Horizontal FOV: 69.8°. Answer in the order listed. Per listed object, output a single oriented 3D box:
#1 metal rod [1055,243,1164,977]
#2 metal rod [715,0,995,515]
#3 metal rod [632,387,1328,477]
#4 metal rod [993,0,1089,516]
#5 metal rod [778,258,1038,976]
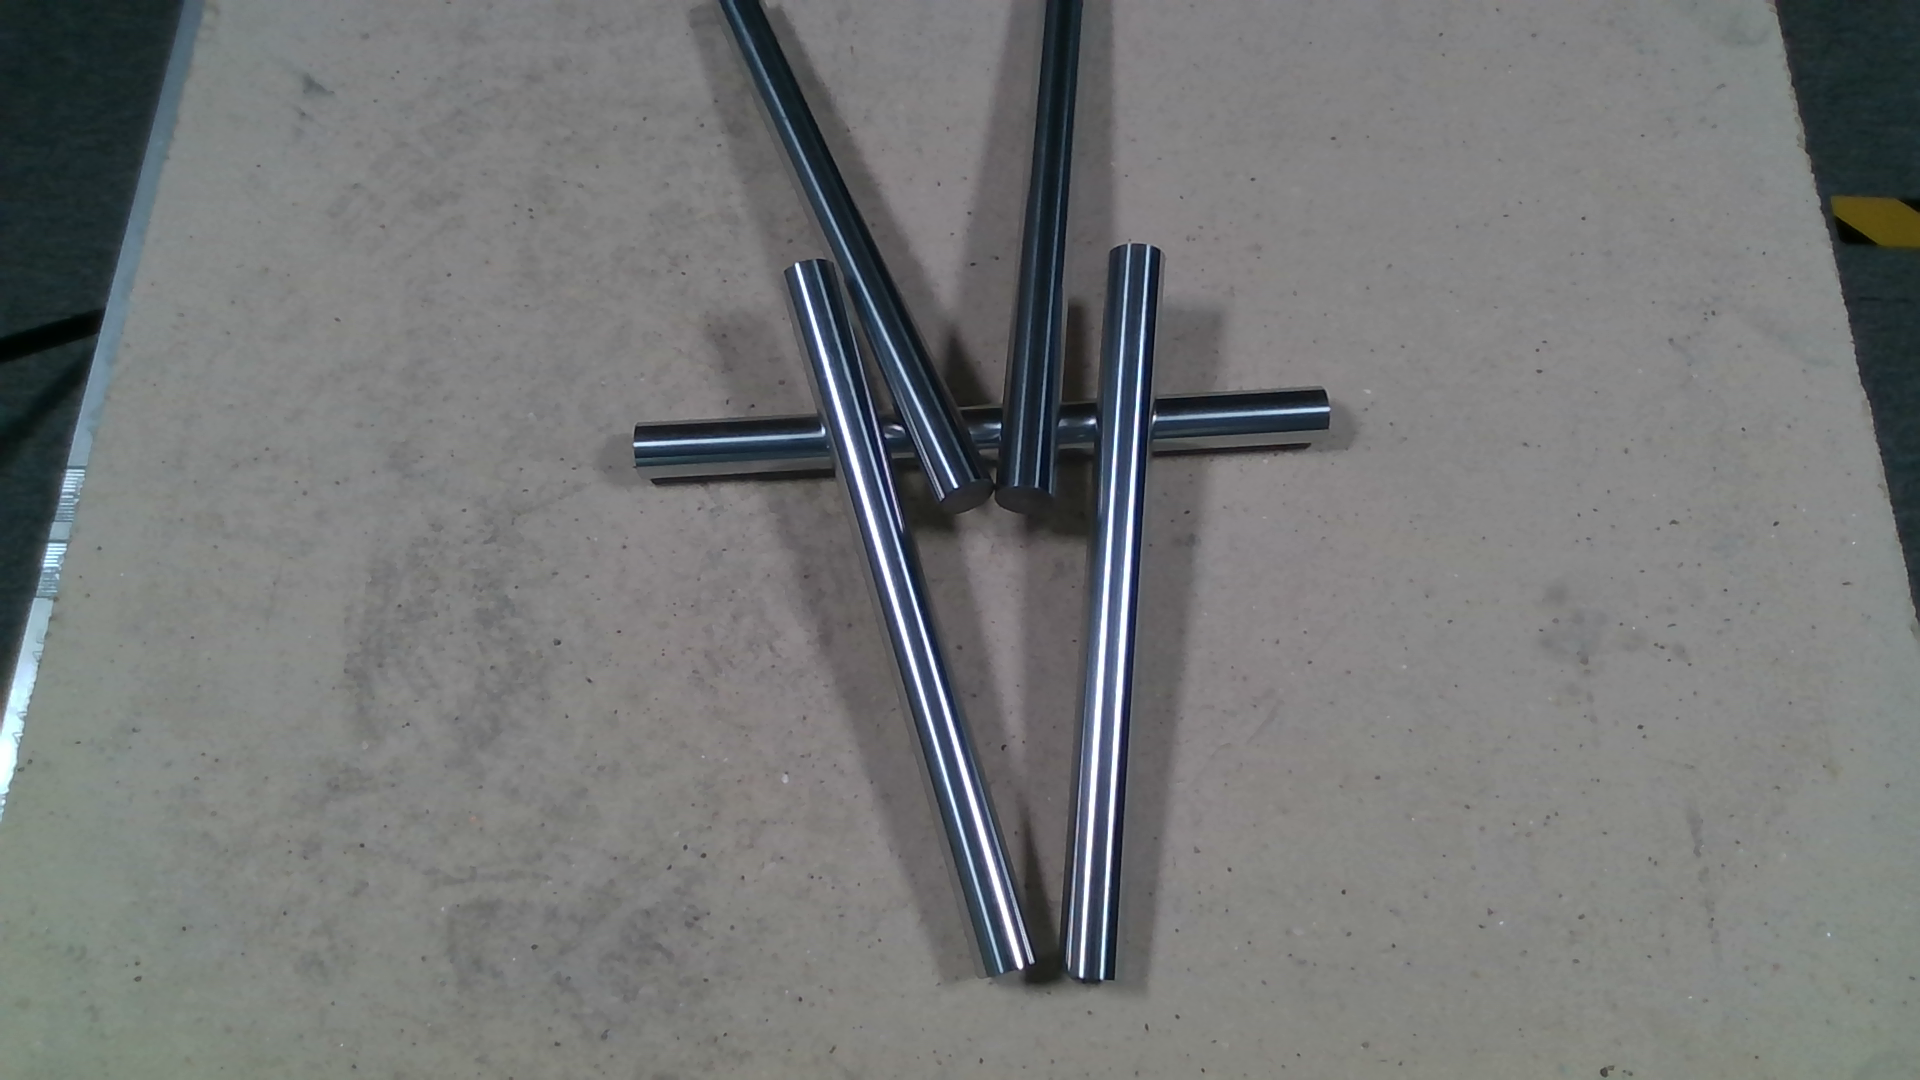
[{"bbox_3d":[0.063,0.022,0.563,0.025,0.025,0.299,5,77,2],"label":"metal rod"},{"bbox_3d":[-0.054,-0.142,0.624,0.025,0.025,0.299,-21,66,-7],"label":"metal rod"},{"bbox_3d":[0.009,-0.047,0.605,0.300,0.025,0.025,-3,70,-1],"label":"metal rod"},{"bbox_3d":[0.039,-0.150,0.627,0.025,0.025,0.299,5,65,2],"label":"metal rod"},{"bbox_3d":[-0.024,0.024,0.563,0.025,0.025,0.299,-16,78,-6],"label":"metal rod"}]
